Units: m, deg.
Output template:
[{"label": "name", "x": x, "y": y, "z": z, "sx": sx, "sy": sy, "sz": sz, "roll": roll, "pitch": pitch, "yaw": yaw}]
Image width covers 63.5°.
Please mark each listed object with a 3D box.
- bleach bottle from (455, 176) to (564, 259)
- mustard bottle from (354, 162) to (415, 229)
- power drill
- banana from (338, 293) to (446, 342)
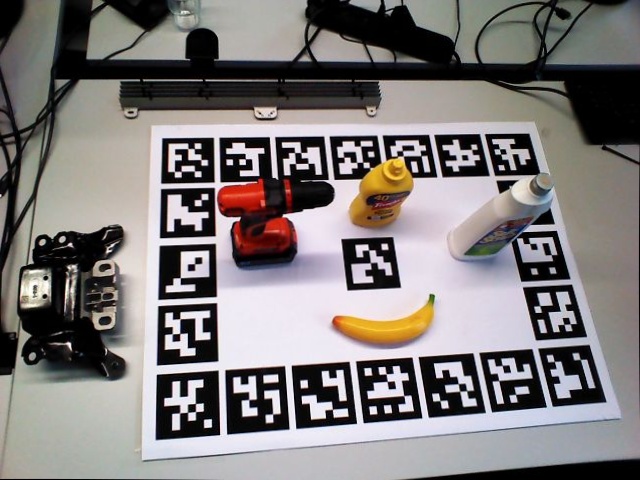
[{"label": "bleach bottle", "x": 0.324, "y": -0.040, "z": 0.882, "sx": 0.103, "sy": 0.252, "sz": 0.067, "roll": 6, "pitch": 68, "yaw": -5}, {"label": "mustard bottle", "x": 0.126, "y": -0.082, "z": 0.909, "sx": 0.096, "sy": 0.192, "sz": 0.058, "roll": -9, "pitch": 70, "yaw": -13}, {"label": "power drill", "x": -0.054, "y": -0.045, "z": 0.839, "sx": 0.184, "sy": 0.188, "sz": 0.057, "roll": -8, "pitch": 70, "yaw": -6}, {"label": "banana", "x": 0.131, "y": 0.140, "z": 0.893, "sx": 0.197, "sy": 0.039, "sz": 0.074, "roll": -7, "pitch": 72, "yaw": -7}]
